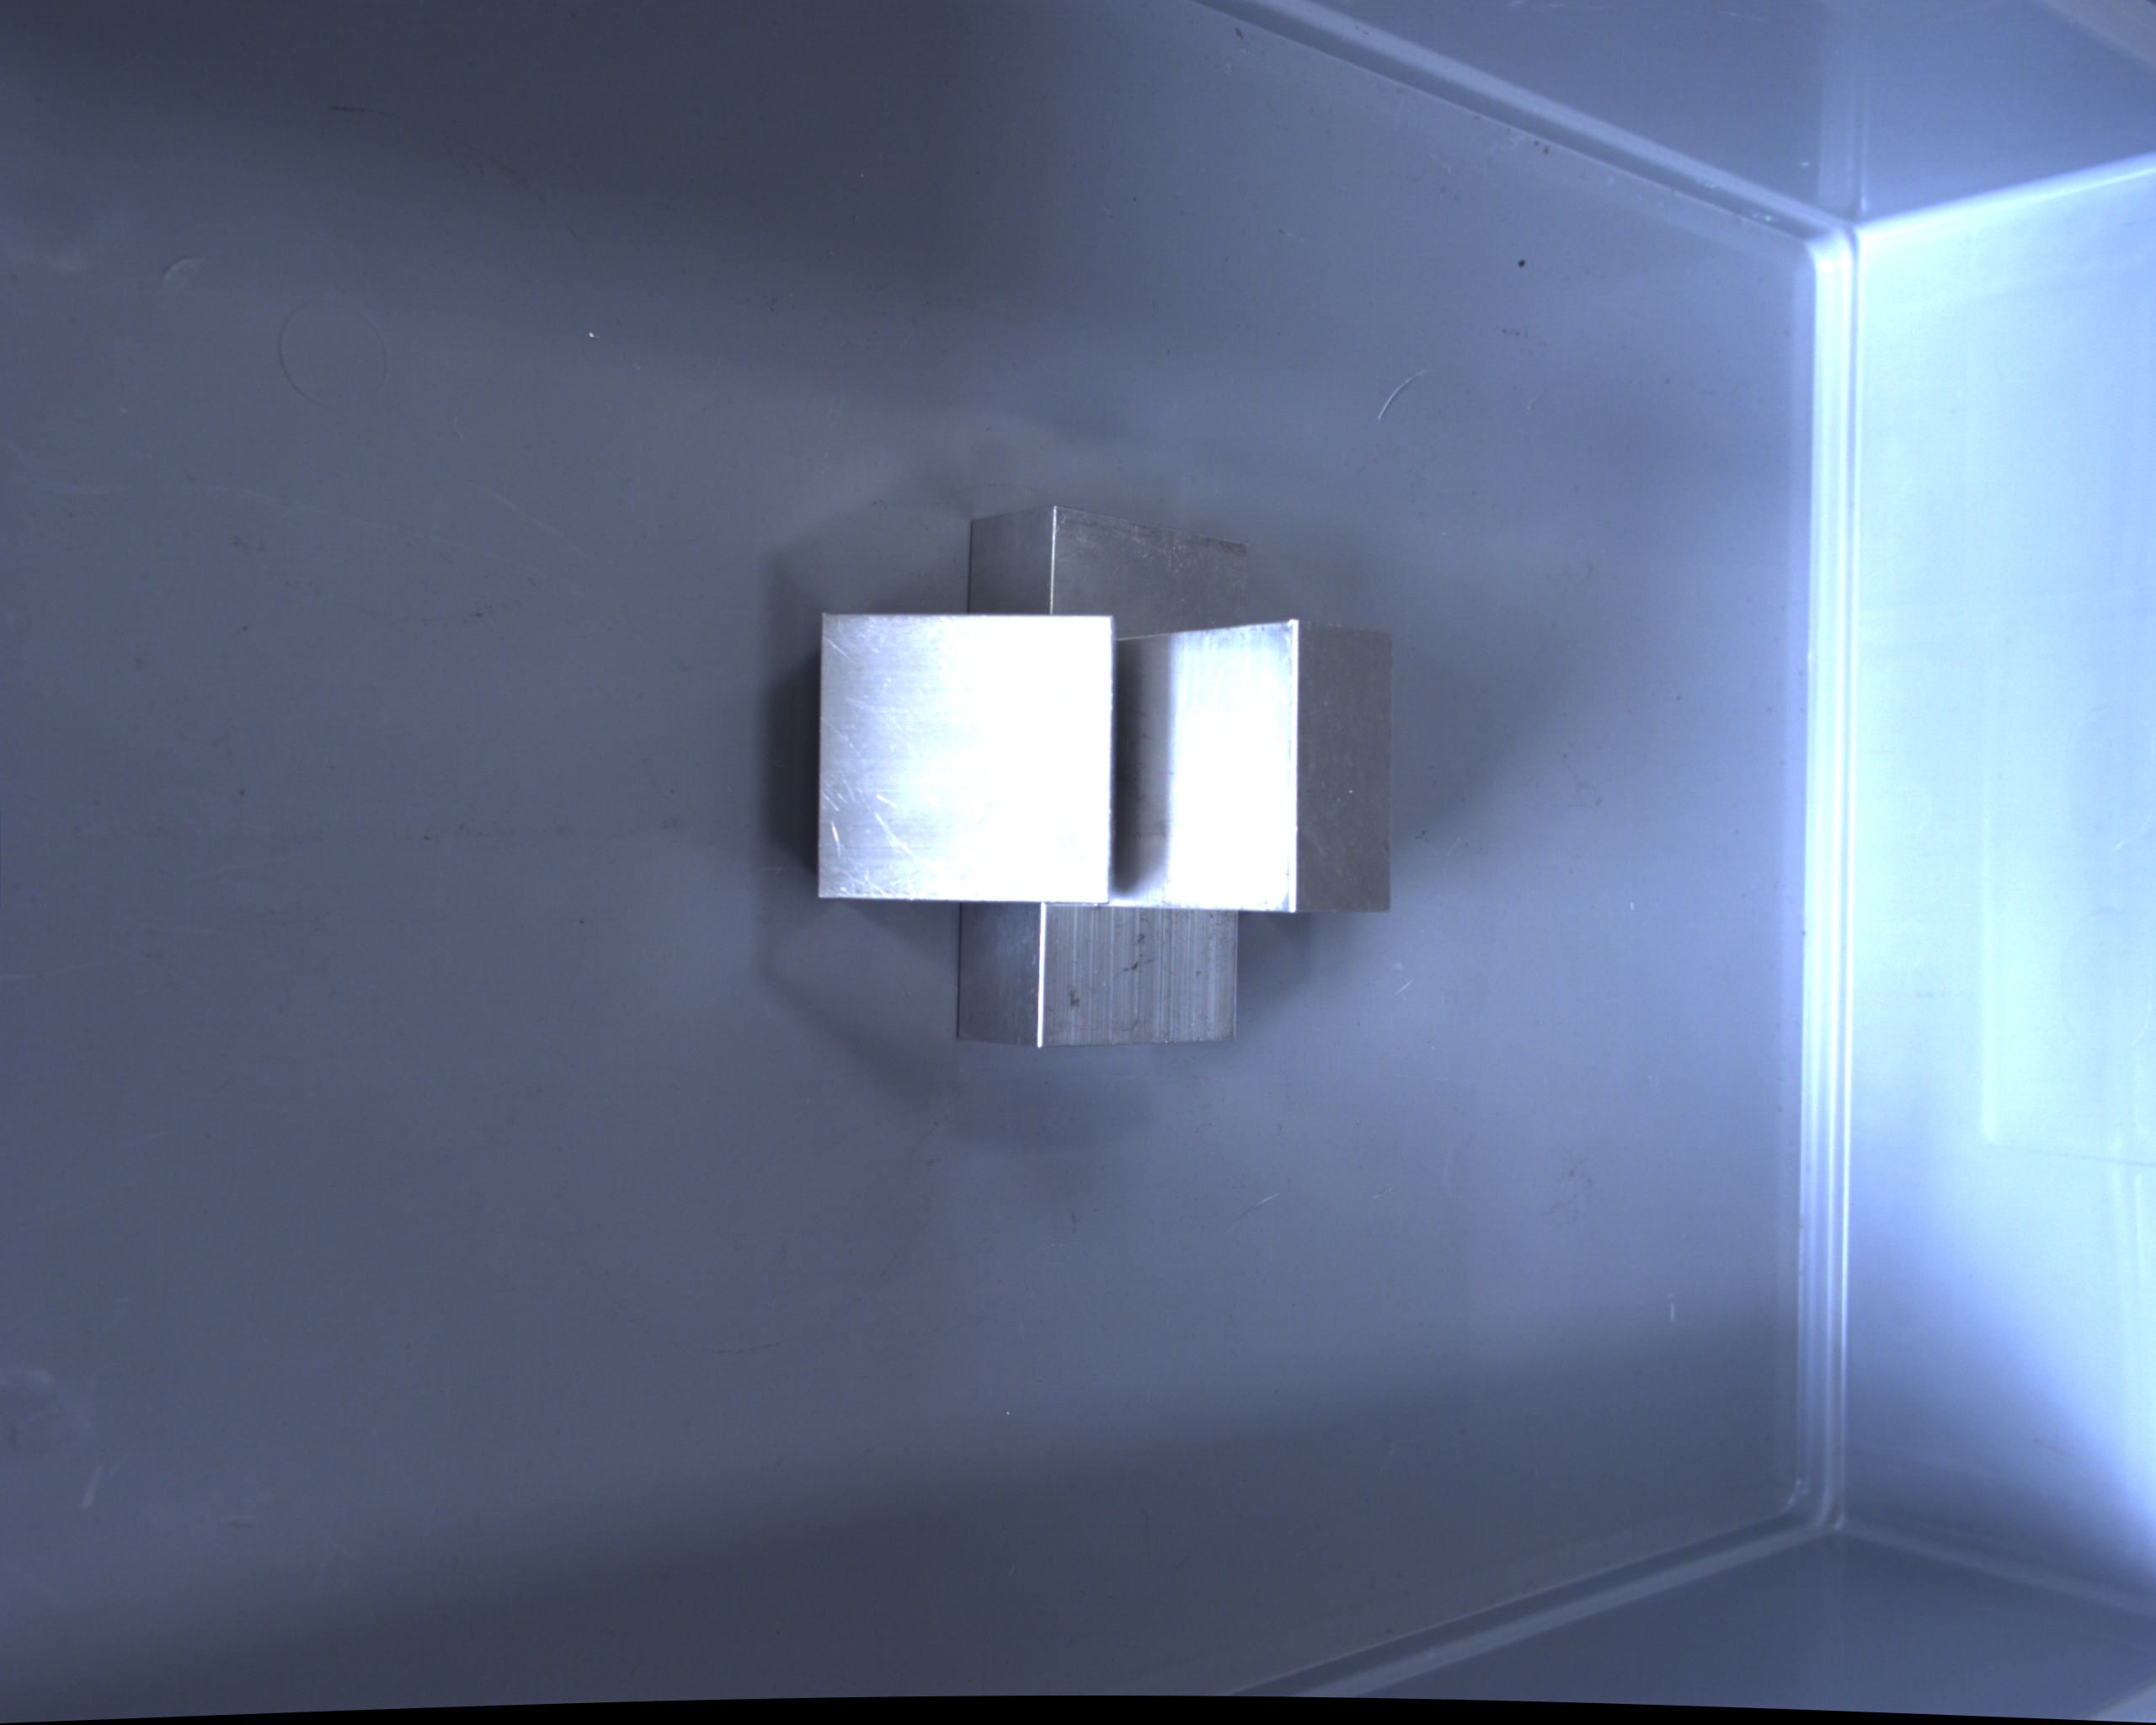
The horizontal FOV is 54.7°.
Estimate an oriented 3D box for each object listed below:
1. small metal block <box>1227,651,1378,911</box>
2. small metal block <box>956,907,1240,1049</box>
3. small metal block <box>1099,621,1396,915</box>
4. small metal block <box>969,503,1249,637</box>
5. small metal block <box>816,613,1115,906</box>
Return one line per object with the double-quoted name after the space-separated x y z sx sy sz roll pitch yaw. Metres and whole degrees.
0.047 -0.016 0.428 0.050 0.025 0.050 5 86 -79 "small metal block"
0.005 0.010 0.408 0.050 0.025 0.050 3 88 -40 "small metal block"
0.030 -0.016 0.380 0.025 0.050 0.050 1 90 -41 "small metal block"
0.006 -0.040 0.408 0.050 0.025 0.050 3 88 -41 "small metal block"
-0.019 -0.018 0.370 0.050 0.025 0.050 1 90 3 "small metal block"
